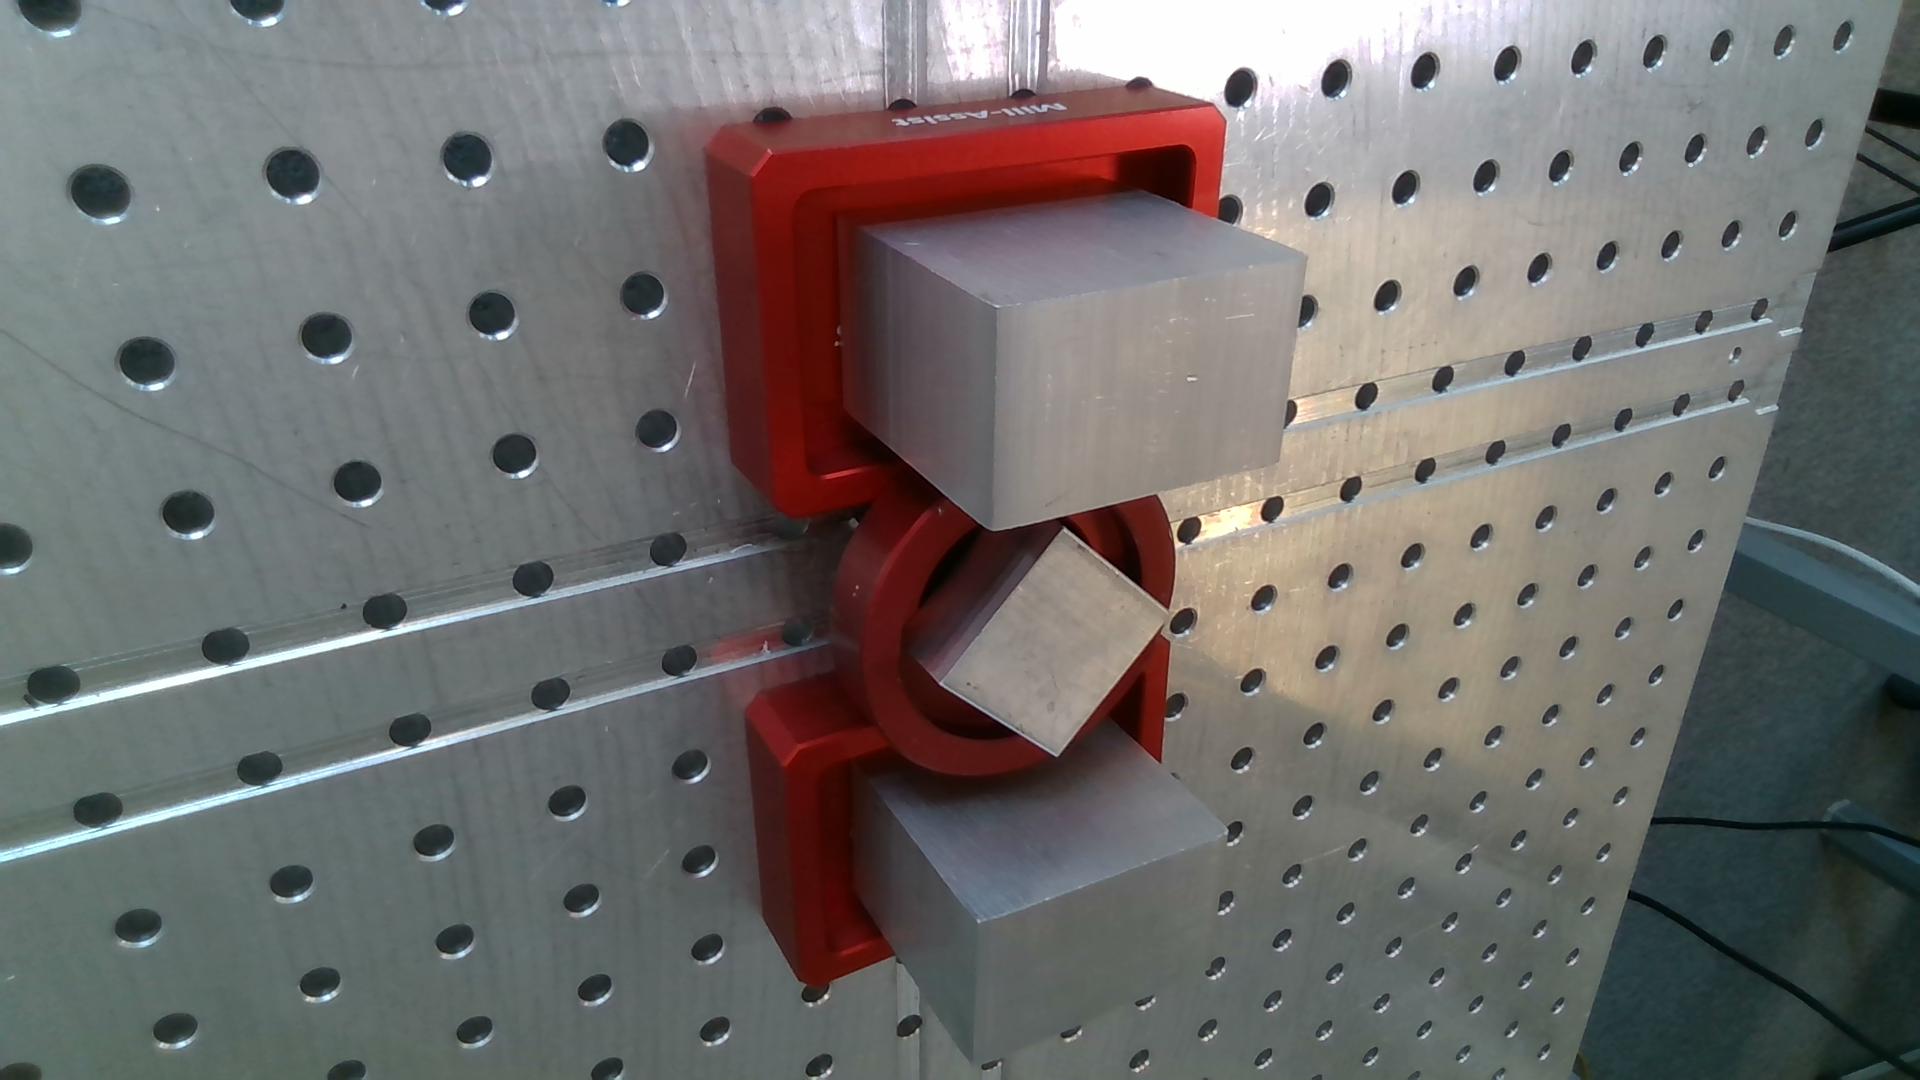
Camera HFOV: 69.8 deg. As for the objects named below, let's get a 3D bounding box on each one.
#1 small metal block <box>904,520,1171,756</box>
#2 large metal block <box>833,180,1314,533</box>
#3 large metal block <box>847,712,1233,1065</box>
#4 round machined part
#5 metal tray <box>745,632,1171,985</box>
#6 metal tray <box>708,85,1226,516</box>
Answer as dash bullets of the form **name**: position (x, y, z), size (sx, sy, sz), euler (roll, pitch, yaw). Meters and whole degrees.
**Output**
- **small metal block**: position (0.020, 0.022, 0.365), size (0.050, 0.025, 0.050), euler (36, 93, -39)
- **large metal block**: position (0.024, -0.049, 0.329), size (0.080, 0.080, 0.050), euler (-14, 121, -25)
- **large metal block**: position (0.020, 0.093, 0.403), size (0.080, 0.080, 0.050), euler (-13, 121, -26)
- **round machined part**: position (0.008, 0.012, 0.382), size (0.098, 0.042, 0.098), euler (-14, 122, -25)
- **metal tray**: position (0.002, 0.075, 0.431), size (0.130, 0.030, 0.090), euler (-15, 122, -25)
- **metal tray**: position (0.005, -0.065, 0.356), size (0.130, 0.030, 0.090), euler (-14, 121, -25)
